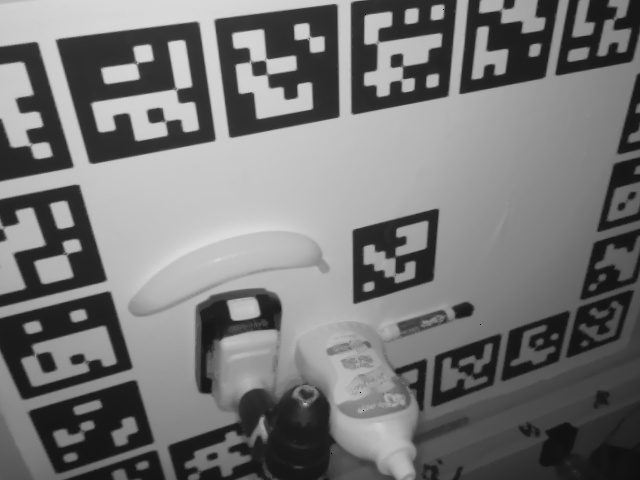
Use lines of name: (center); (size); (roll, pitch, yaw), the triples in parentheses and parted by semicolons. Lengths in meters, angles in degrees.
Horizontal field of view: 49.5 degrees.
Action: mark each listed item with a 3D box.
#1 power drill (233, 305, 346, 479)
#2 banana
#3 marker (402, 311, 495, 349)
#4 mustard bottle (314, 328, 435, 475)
power drill: (-0.032, 0.146, 0.652); (0.058, 0.187, 0.182); (0, 121, -20)
banana: (-0.060, 0.024, 0.688); (0.200, 0.039, 0.073); (-7, 119, -22)
marker: (0.157, 0.108, 0.839); (0.122, 0.019, 0.019); (-12, 121, -17)
mustard bottle: (0.066, 0.169, 0.729); (0.097, 0.191, 0.058); (-3, 120, -20)
